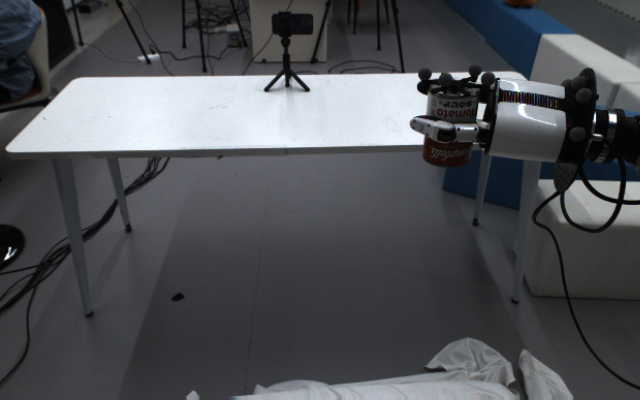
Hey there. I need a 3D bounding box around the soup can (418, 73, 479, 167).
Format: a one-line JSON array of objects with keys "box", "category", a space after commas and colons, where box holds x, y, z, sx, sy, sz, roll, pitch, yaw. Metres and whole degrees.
[{"box": [0.179, -0.105, 0.660, 0.067, 0.101, 0.067, -2, 32, 1], "category": "soup can"}]
